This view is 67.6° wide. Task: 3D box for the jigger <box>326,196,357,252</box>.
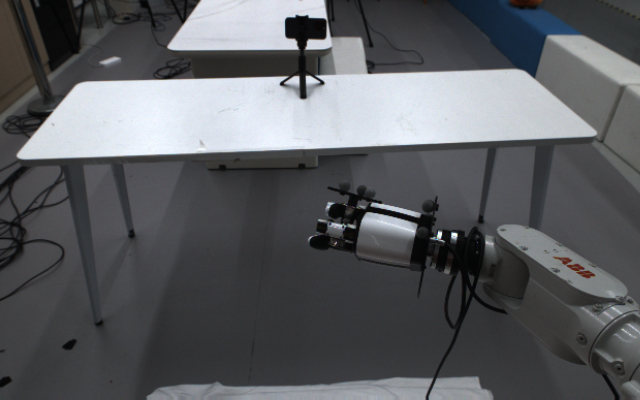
[{"bbox_3d":[0.042,0.041,0.767,0.043,0.071,0.043,17,2,-1],"label":"jigger"}]
